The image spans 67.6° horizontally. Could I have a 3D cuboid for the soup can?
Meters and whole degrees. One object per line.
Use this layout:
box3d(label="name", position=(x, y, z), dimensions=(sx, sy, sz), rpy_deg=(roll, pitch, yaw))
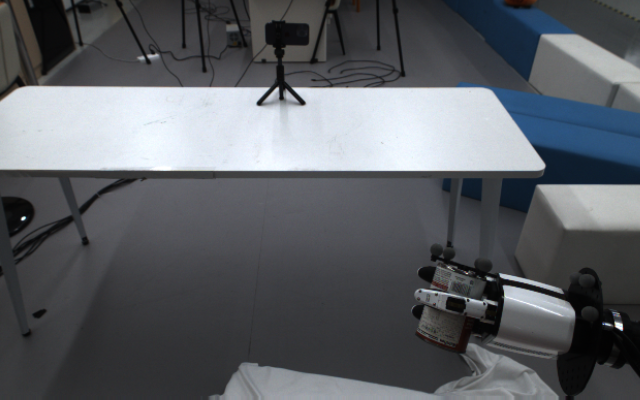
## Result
box3d(label="soup can", position=(0.176, 0.140, 0.640), dimensions=(0.067, 0.101, 0.067), rpy_deg=(17, -2, 1))
